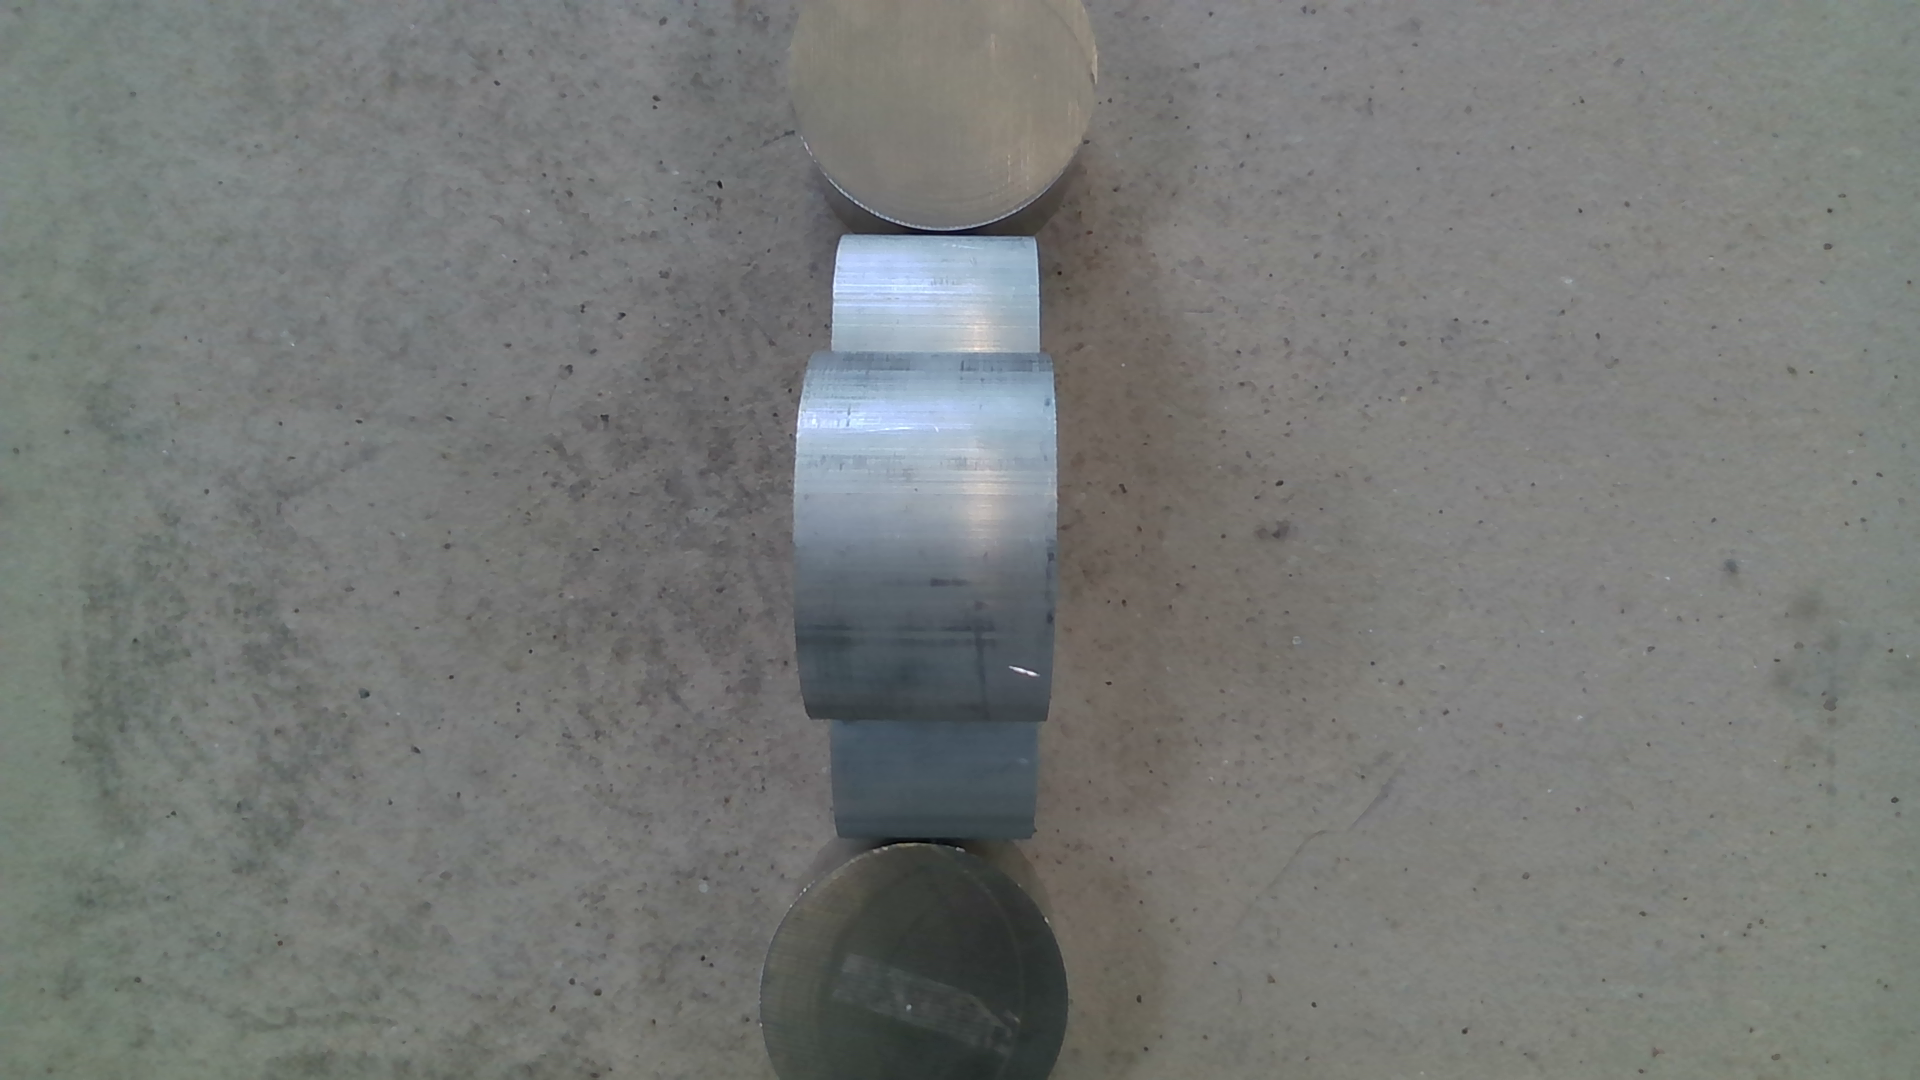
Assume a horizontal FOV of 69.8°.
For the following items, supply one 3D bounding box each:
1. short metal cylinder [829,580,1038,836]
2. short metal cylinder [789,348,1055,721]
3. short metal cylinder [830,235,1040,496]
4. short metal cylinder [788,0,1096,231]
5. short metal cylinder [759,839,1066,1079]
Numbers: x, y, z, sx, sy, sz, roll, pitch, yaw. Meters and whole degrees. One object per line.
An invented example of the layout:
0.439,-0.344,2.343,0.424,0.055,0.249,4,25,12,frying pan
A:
-0.007,0.039,0.369,0.050,0.080,0.080,0,90,-1,short metal cylinder
-0.006,-0.001,0.299,0.050,0.080,0.080,1,90,1,short metal cylinder
-0.006,-0.041,0.368,0.050,0.080,0.080,0,90,0,short metal cylinder
-0.005,-0.121,0.382,0.080,0.050,0.080,0,90,0,short metal cylinder
-0.012,0.119,0.383,0.080,0.050,0.080,0,90,0,short metal cylinder
